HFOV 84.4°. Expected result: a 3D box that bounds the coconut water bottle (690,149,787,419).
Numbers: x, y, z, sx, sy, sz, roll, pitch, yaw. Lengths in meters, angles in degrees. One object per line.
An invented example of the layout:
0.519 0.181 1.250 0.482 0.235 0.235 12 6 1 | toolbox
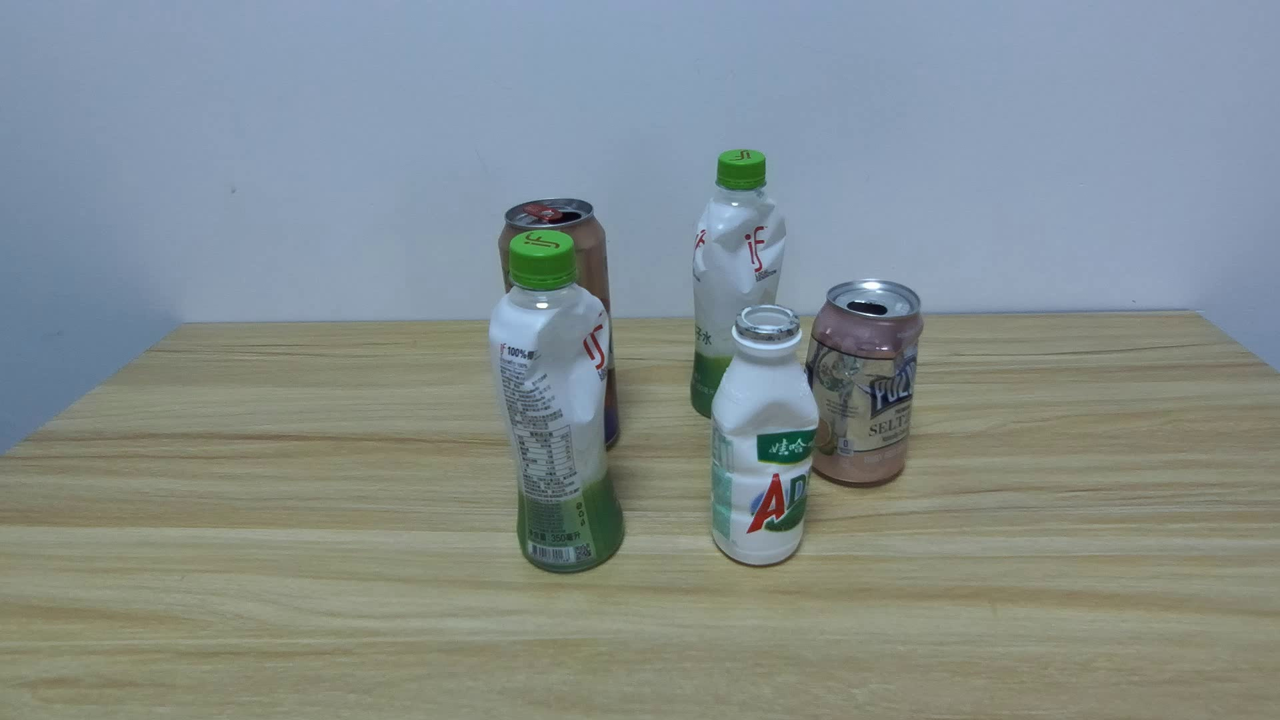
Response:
0.065 -0.047 0.486 0.067 0.187 0.067 0 24 0 | coconut water bottle

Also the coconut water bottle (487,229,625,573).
-0.044 0.024 0.377 0.069 0.187 0.069 -1 28 1 | coconut water bottle

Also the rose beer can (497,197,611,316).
-0.052 -0.020 0.480 0.068 0.169 0.068 -4 27 2 | rose beer can

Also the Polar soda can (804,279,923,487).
0.139 0.016 0.448 0.074 0.122 0.067 -2 28 1 | Polar soda can

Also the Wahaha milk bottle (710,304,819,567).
0.065 0.042 0.377 0.056 0.148 0.056 -1 32 1 | Wahaha milk bottle
